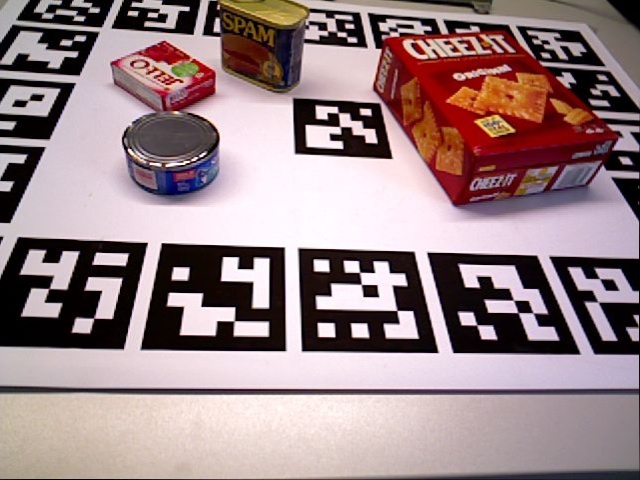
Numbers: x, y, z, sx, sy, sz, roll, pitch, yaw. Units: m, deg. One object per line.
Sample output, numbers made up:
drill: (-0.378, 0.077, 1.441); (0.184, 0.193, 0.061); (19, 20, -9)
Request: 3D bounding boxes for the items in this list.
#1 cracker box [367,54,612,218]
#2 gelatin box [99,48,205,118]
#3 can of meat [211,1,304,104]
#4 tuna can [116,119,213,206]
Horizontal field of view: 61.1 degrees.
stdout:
cracker box: (0.171, -0.126, 0.585); (0.162, 0.074, 0.211); (-10, 47, -19)
gelatin box: (-0.184, -0.173, 0.597); (0.089, 0.031, 0.071); (35, 48, 19)
can of meat: (-0.074, -0.214, 0.627); (0.102, 0.086, 0.056); (24, 47, 15)
tuna can: (-0.141, -0.072, 0.502); (0.085, 0.034, 0.084); (3, 50, -5)
